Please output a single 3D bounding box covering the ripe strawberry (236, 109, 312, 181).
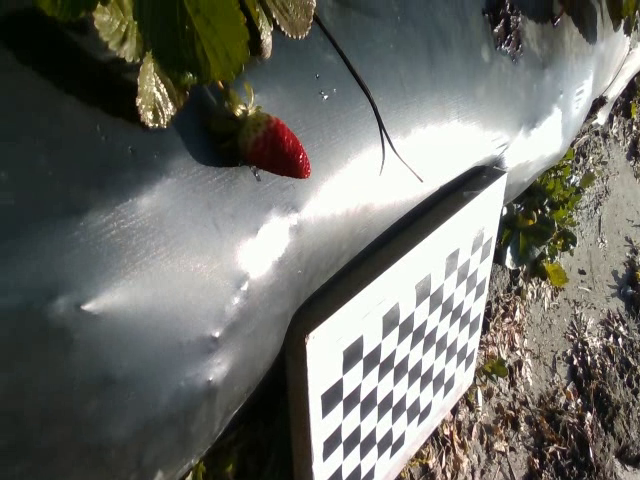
[{"bbox_3d":[-0.017,-0.039,0.270,0.041,0.028,0.031,37,-20,2],"label":"ripe strawberry"}]
